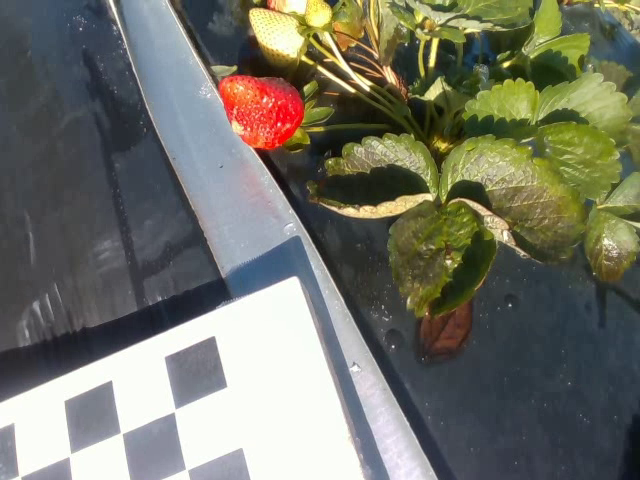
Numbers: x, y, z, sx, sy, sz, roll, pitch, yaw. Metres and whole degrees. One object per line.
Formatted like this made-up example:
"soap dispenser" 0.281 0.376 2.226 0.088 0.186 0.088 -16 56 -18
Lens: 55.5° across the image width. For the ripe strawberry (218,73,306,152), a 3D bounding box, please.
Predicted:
"ripe strawberry" -0.028 -0.057 0.249 0.038 0.036 0.045 -32 -31 16
